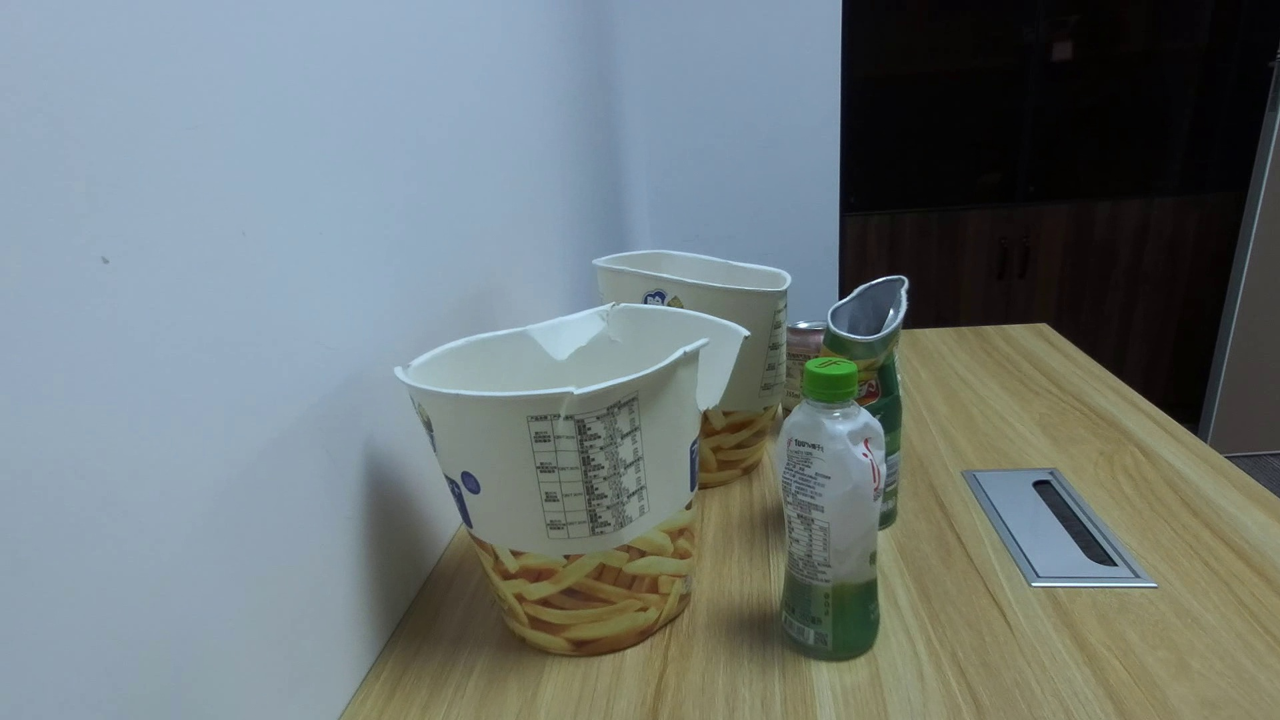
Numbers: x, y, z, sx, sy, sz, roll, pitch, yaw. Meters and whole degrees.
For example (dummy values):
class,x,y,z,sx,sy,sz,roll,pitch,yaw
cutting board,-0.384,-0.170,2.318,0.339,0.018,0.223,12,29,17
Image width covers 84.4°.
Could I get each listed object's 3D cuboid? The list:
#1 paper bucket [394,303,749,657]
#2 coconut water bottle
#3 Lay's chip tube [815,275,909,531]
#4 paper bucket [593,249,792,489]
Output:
class,x,y,z,sx,sy,sz,roll,pitch,yaw
paper bucket,-0.036,0.077,0.496,0.203,0.197,0.145,-20,26,-34
coconut water bottle,0.119,0.090,0.437,0.067,0.187,0.067,-4,19,2
Lay's chip tube,0.174,0.040,0.552,0.079,0.199,0.071,-7,28,0
paper bucket,0.044,0.001,0.678,0.217,0.199,0.148,3,21,22
